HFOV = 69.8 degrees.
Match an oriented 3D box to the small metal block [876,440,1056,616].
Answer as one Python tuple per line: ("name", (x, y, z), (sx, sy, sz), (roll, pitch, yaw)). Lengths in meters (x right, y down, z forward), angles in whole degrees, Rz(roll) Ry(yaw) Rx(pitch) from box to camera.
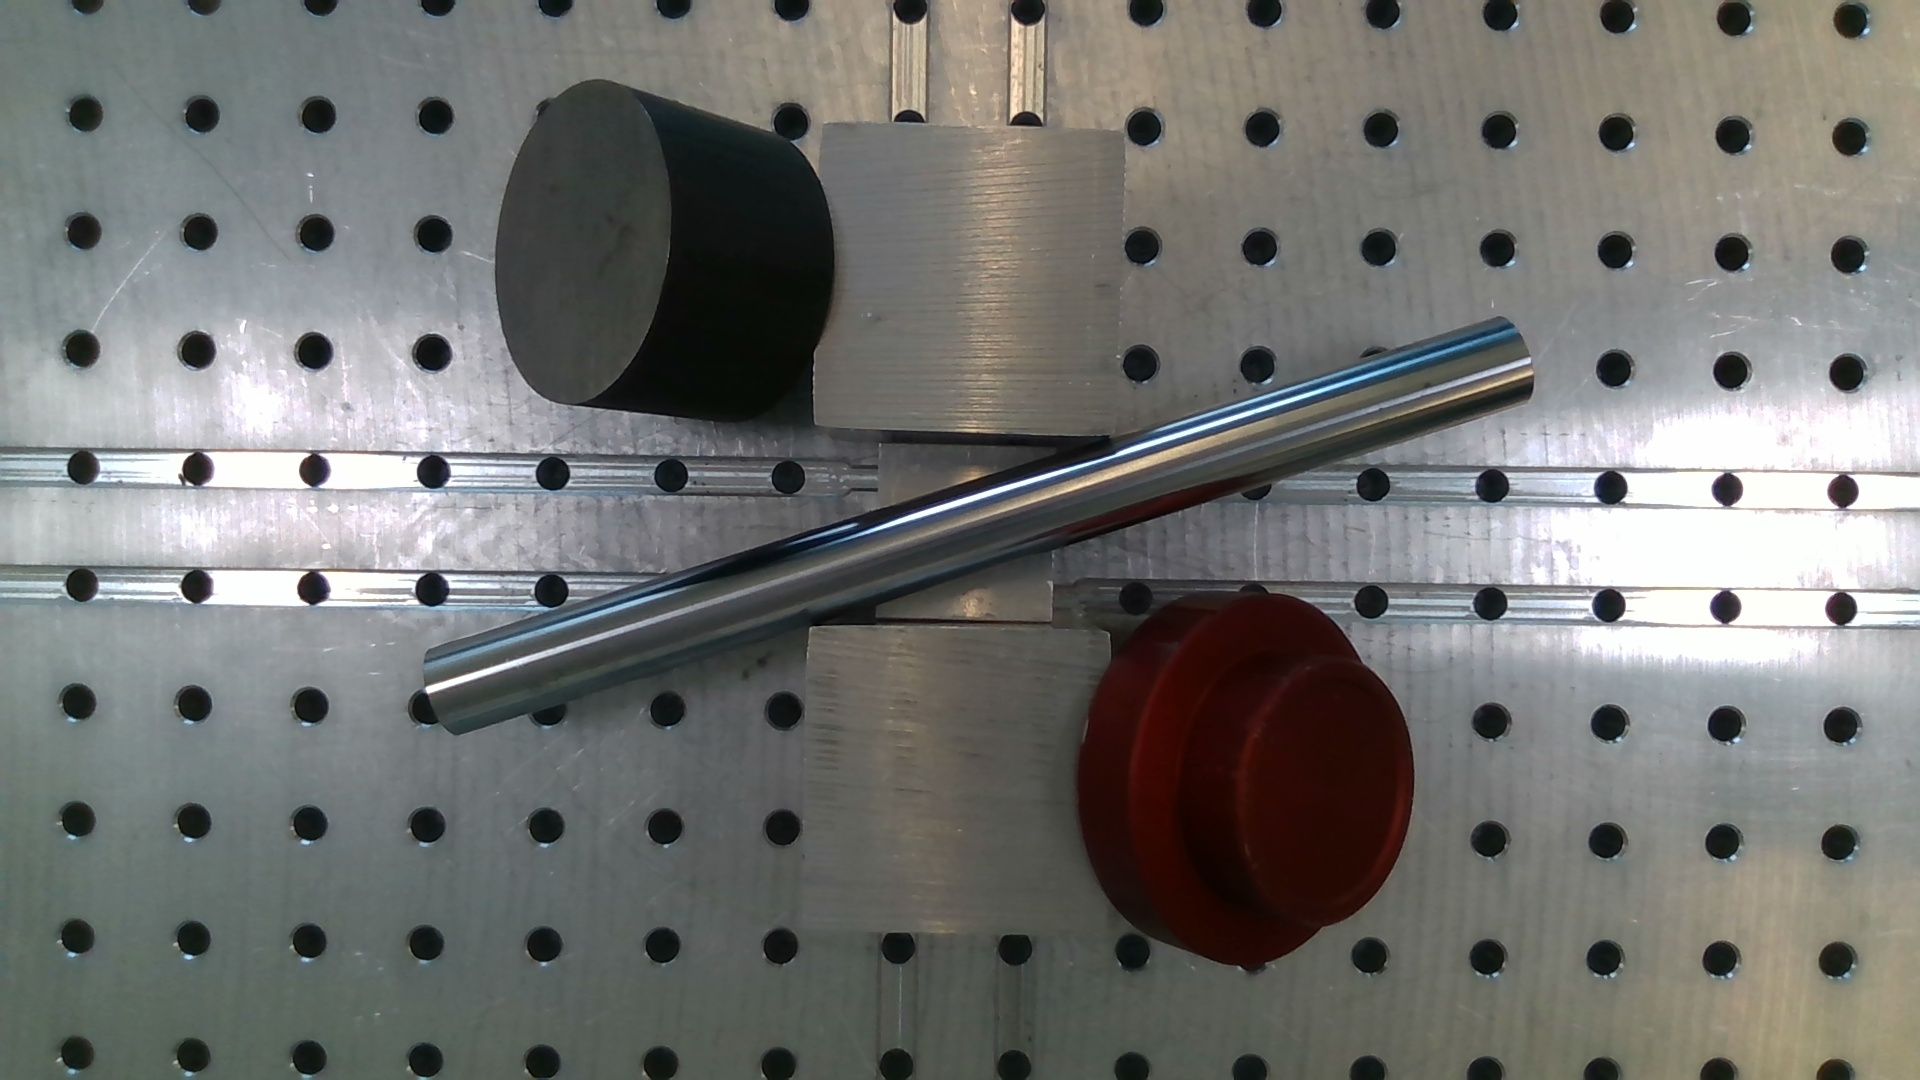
("small metal block", (0.002, -0.003, 0.398), (0.050, 0.025, 0.050), (1, 90, 0))

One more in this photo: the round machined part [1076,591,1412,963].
("round machined part", (0.081, 0.063, 0.365), (0.098, 0.042, 0.098), (0, 91, -35))

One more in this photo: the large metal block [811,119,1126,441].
("large metal block", (0.002, -0.069, 0.386), (0.080, 0.050, 0.080), (2, 90, 0))

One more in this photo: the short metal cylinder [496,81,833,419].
("short metal cylinder", (-0.079, -0.074, 0.364), (0.080, 0.050, 0.080), (-2, 88, 43))

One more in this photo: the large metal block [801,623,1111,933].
("large metal block", (-0.001, 0.063, 0.386), (0.080, 0.050, 0.080), (1, 90, 0))

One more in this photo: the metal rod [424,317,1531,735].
("metal rod", (0.005, -0.004, 0.372), (0.300, 0.025, 0.025), (-17, 90, 0))
